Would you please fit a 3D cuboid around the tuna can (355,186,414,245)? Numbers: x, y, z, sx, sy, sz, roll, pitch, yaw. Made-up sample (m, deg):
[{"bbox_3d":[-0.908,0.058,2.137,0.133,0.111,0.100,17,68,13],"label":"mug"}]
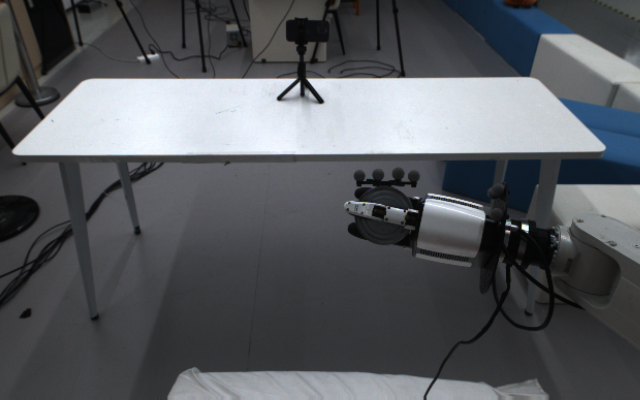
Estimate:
[{"bbox_3d":[0.097,0.027,0.703,0.085,0.085,0.034,13,-3,16],"label":"tuna can"}]
